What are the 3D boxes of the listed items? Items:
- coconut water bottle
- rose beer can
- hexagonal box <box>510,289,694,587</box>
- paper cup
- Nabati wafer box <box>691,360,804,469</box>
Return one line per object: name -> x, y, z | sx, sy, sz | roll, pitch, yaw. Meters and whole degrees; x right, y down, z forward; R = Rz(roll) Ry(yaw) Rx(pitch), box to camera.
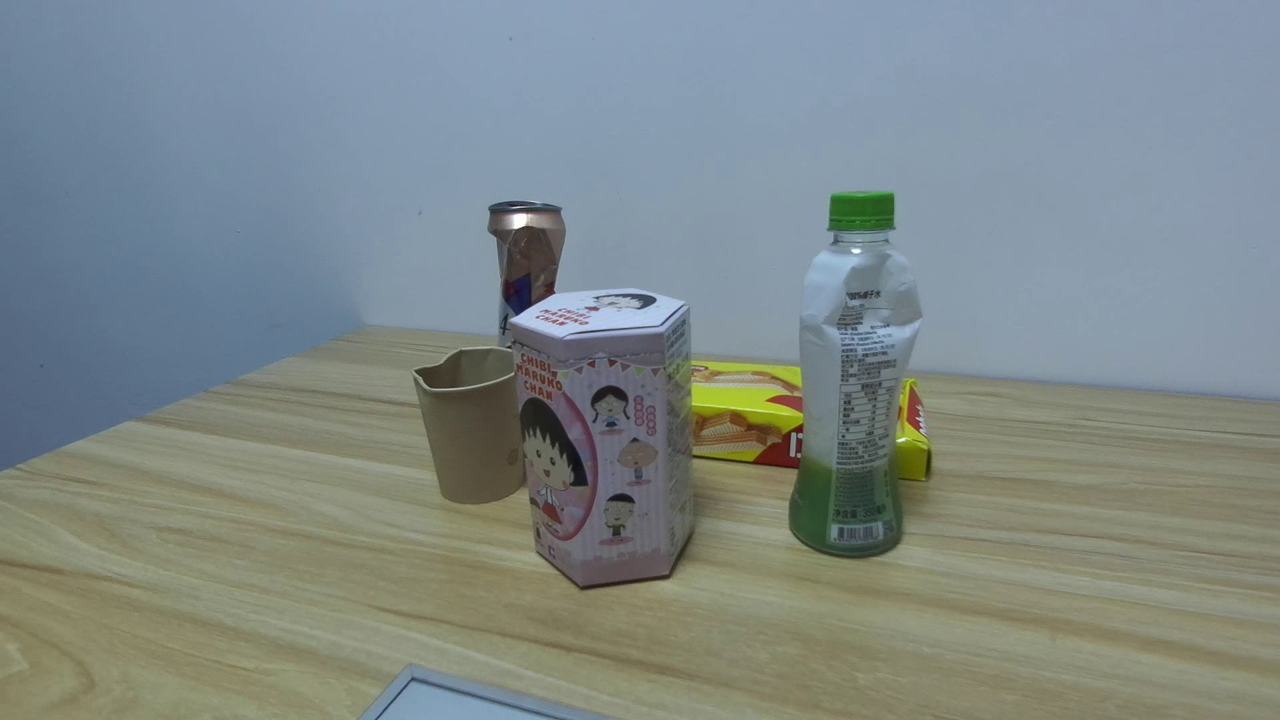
coconut water bottle -> 0.113, 0.007, 0.372 | 0.067, 0.187, 0.067 | -2, 18, 1
rose beer can -> -0.083, -0.039, 0.559 | 0.065, 0.167, 0.075 | -1, 18, -4
hexagonal box -> -0.017, 0.039, 0.373 | 0.084, 0.136, 0.091 | -16, 23, -37
paper cup -> -0.103, 0.042, 0.453 | 0.069, 0.081, 0.073 | -12, 22, -26
Nabati wafer box -> 0.101, 0.037, 0.511 | 0.203, 0.042, 0.096 | 4, 20, 16
